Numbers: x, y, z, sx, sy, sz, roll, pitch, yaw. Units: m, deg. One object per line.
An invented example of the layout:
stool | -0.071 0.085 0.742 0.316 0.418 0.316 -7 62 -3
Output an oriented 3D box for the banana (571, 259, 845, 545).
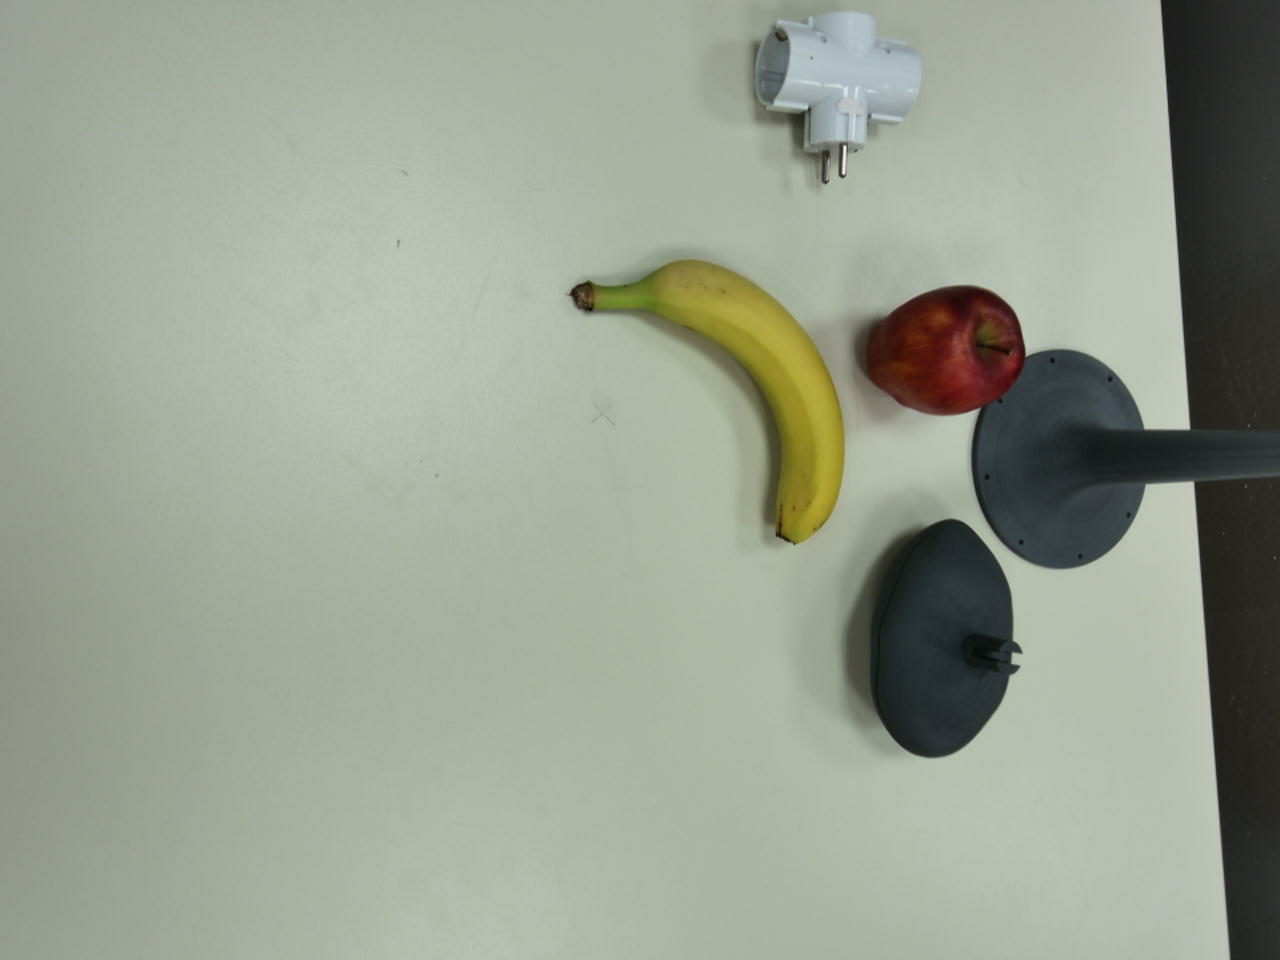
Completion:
banana | 0.059 -0.061 0.575 0.094 0.041 0.196 -44 105 -16
